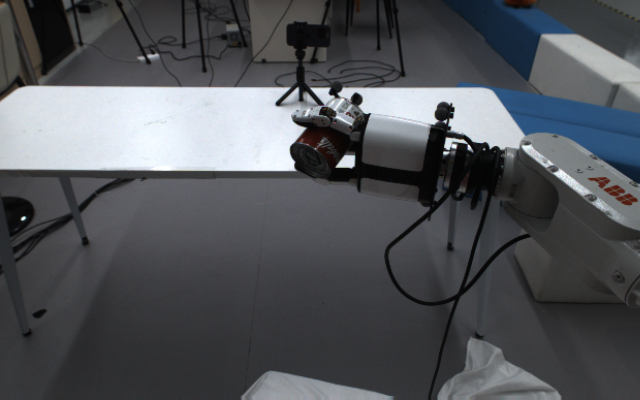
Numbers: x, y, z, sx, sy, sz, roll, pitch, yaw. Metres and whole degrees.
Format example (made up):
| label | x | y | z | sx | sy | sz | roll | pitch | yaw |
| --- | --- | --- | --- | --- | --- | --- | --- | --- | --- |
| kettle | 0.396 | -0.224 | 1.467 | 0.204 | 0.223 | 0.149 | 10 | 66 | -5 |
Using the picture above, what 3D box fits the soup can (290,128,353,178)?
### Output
| label | x | y | z | sx | sy | sz | roll | pitch | yaw |
| --- | --- | --- | --- | --- | --- | --- | --- | --- | --- |
| soup can | 0.014 | -0.090 | 0.686 | 0.067 | 0.067 | 0.101 | 22 | 61 | 26 |
